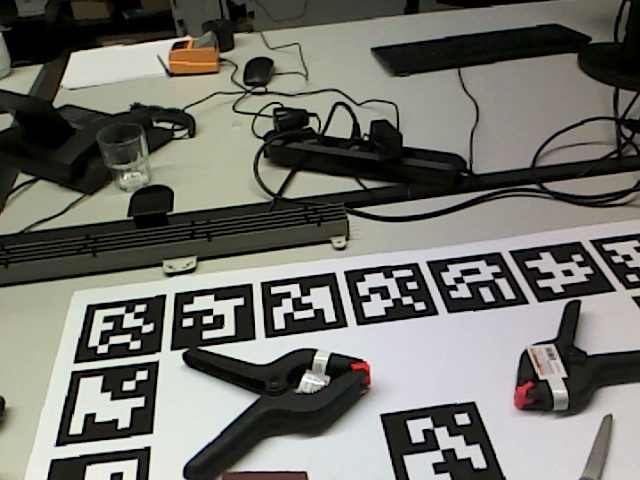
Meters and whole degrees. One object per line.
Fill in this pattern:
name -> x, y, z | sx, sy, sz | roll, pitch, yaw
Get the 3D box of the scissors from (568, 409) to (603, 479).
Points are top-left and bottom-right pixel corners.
scissors -> 0.234, 0.229, 0.572 | 0.088, 0.016, 0.202 | 25, 45, 21

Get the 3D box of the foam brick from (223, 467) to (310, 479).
foam brick -> -0.047, 0.244, 0.562 | 0.078, 0.051, 0.053 | -6, 40, 5

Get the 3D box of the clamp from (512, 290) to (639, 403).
clamp -> 0.276, 0.129, 0.688 | 0.164, 0.036, 0.122 | -27, 51, -24

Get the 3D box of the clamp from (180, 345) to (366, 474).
clamp -> -0.048, 0.161, 0.672 | 0.202, 0.036, 0.166 | -9, 36, -7
